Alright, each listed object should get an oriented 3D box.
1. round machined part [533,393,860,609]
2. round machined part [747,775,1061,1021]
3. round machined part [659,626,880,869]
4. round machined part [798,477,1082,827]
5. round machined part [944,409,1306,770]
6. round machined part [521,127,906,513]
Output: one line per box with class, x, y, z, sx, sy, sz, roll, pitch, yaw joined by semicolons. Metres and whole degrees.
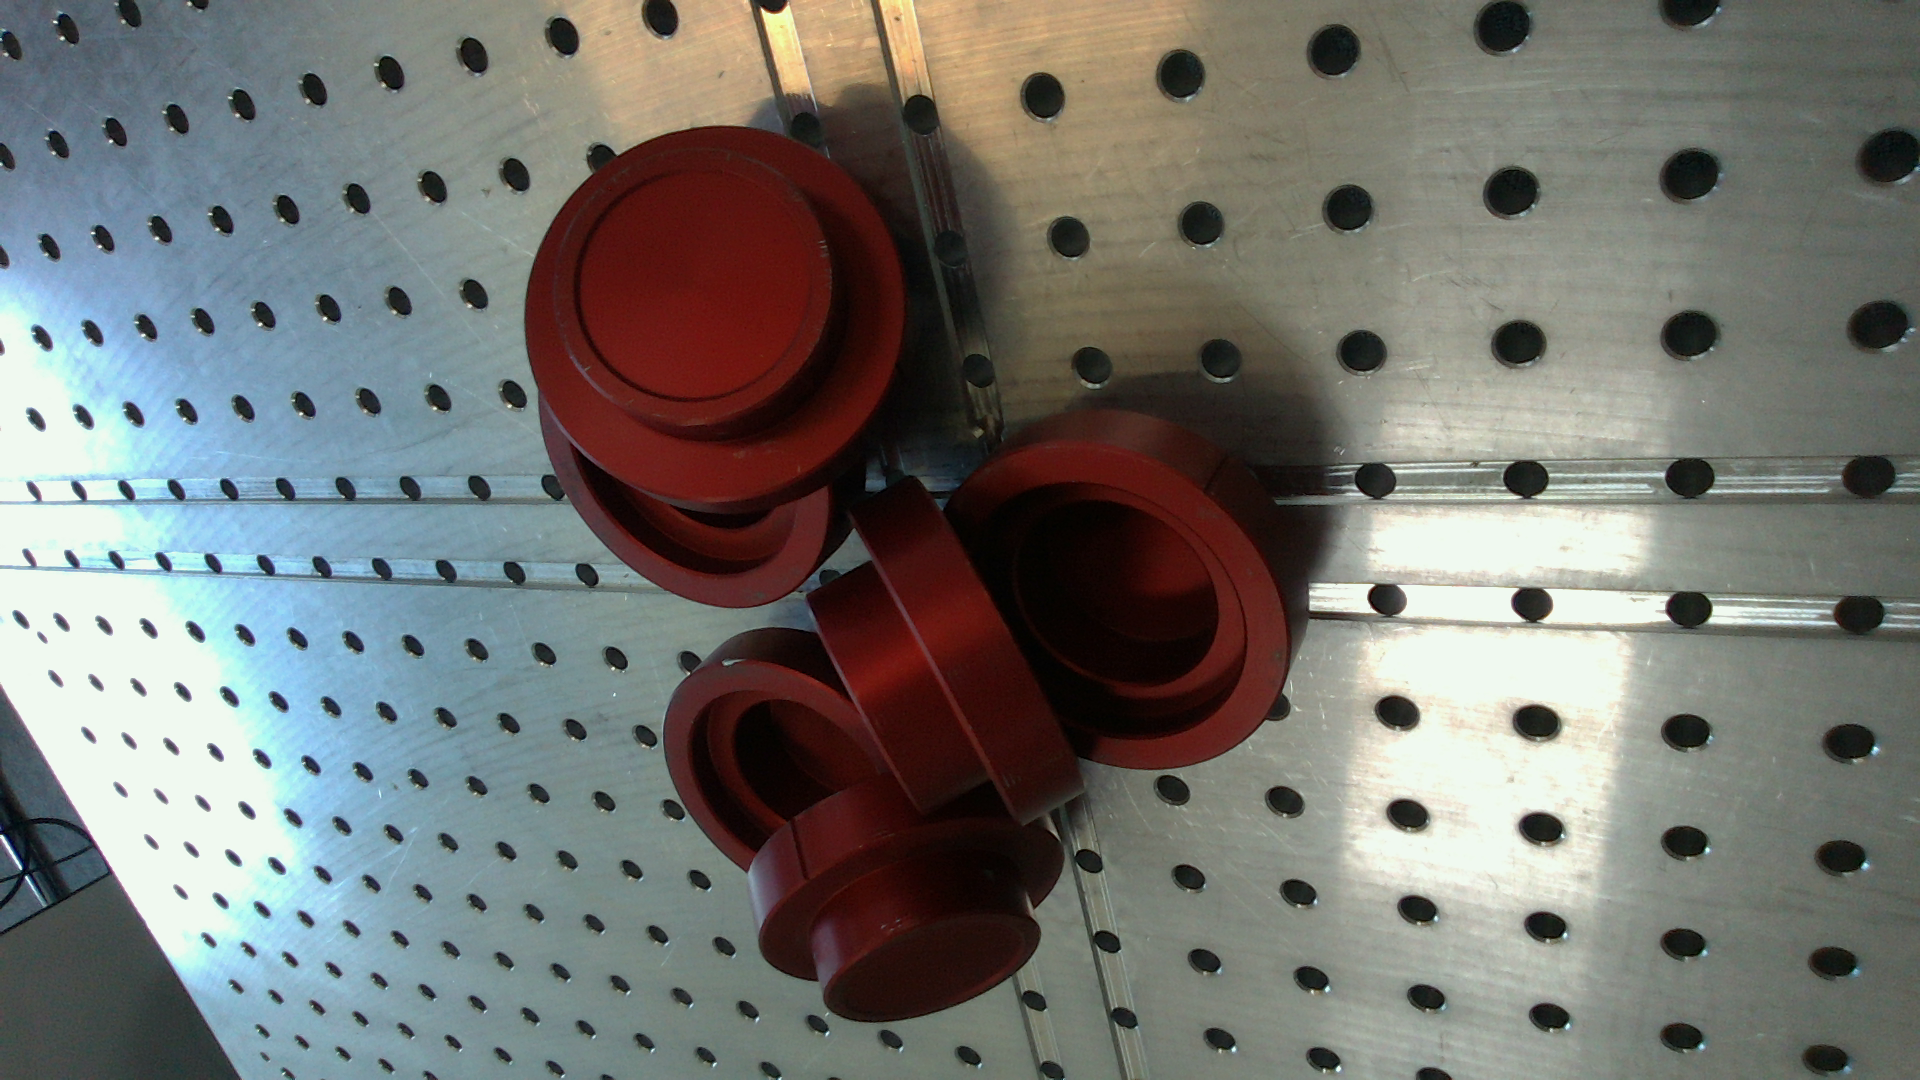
round machined part;-0.072;-0.032;0.403;0.098;0.042;0.098;13;124;21
round machined part;-0.014;0.114;0.426;0.098;0.042;0.098;-13;141;-11
round machined part;-0.046;0.070;0.452;0.098;0.042;0.098;13;124;21
round machined part;-0.009;0.035;0.373;0.042;0.098;0.098;-29;107;-6
round machined part;0.044;0.010;0.367;0.098;0.042;0.098;13;124;21
round machined part;-0.063;-0.058;0.347;0.098;0.042;0.098;0;82;2
